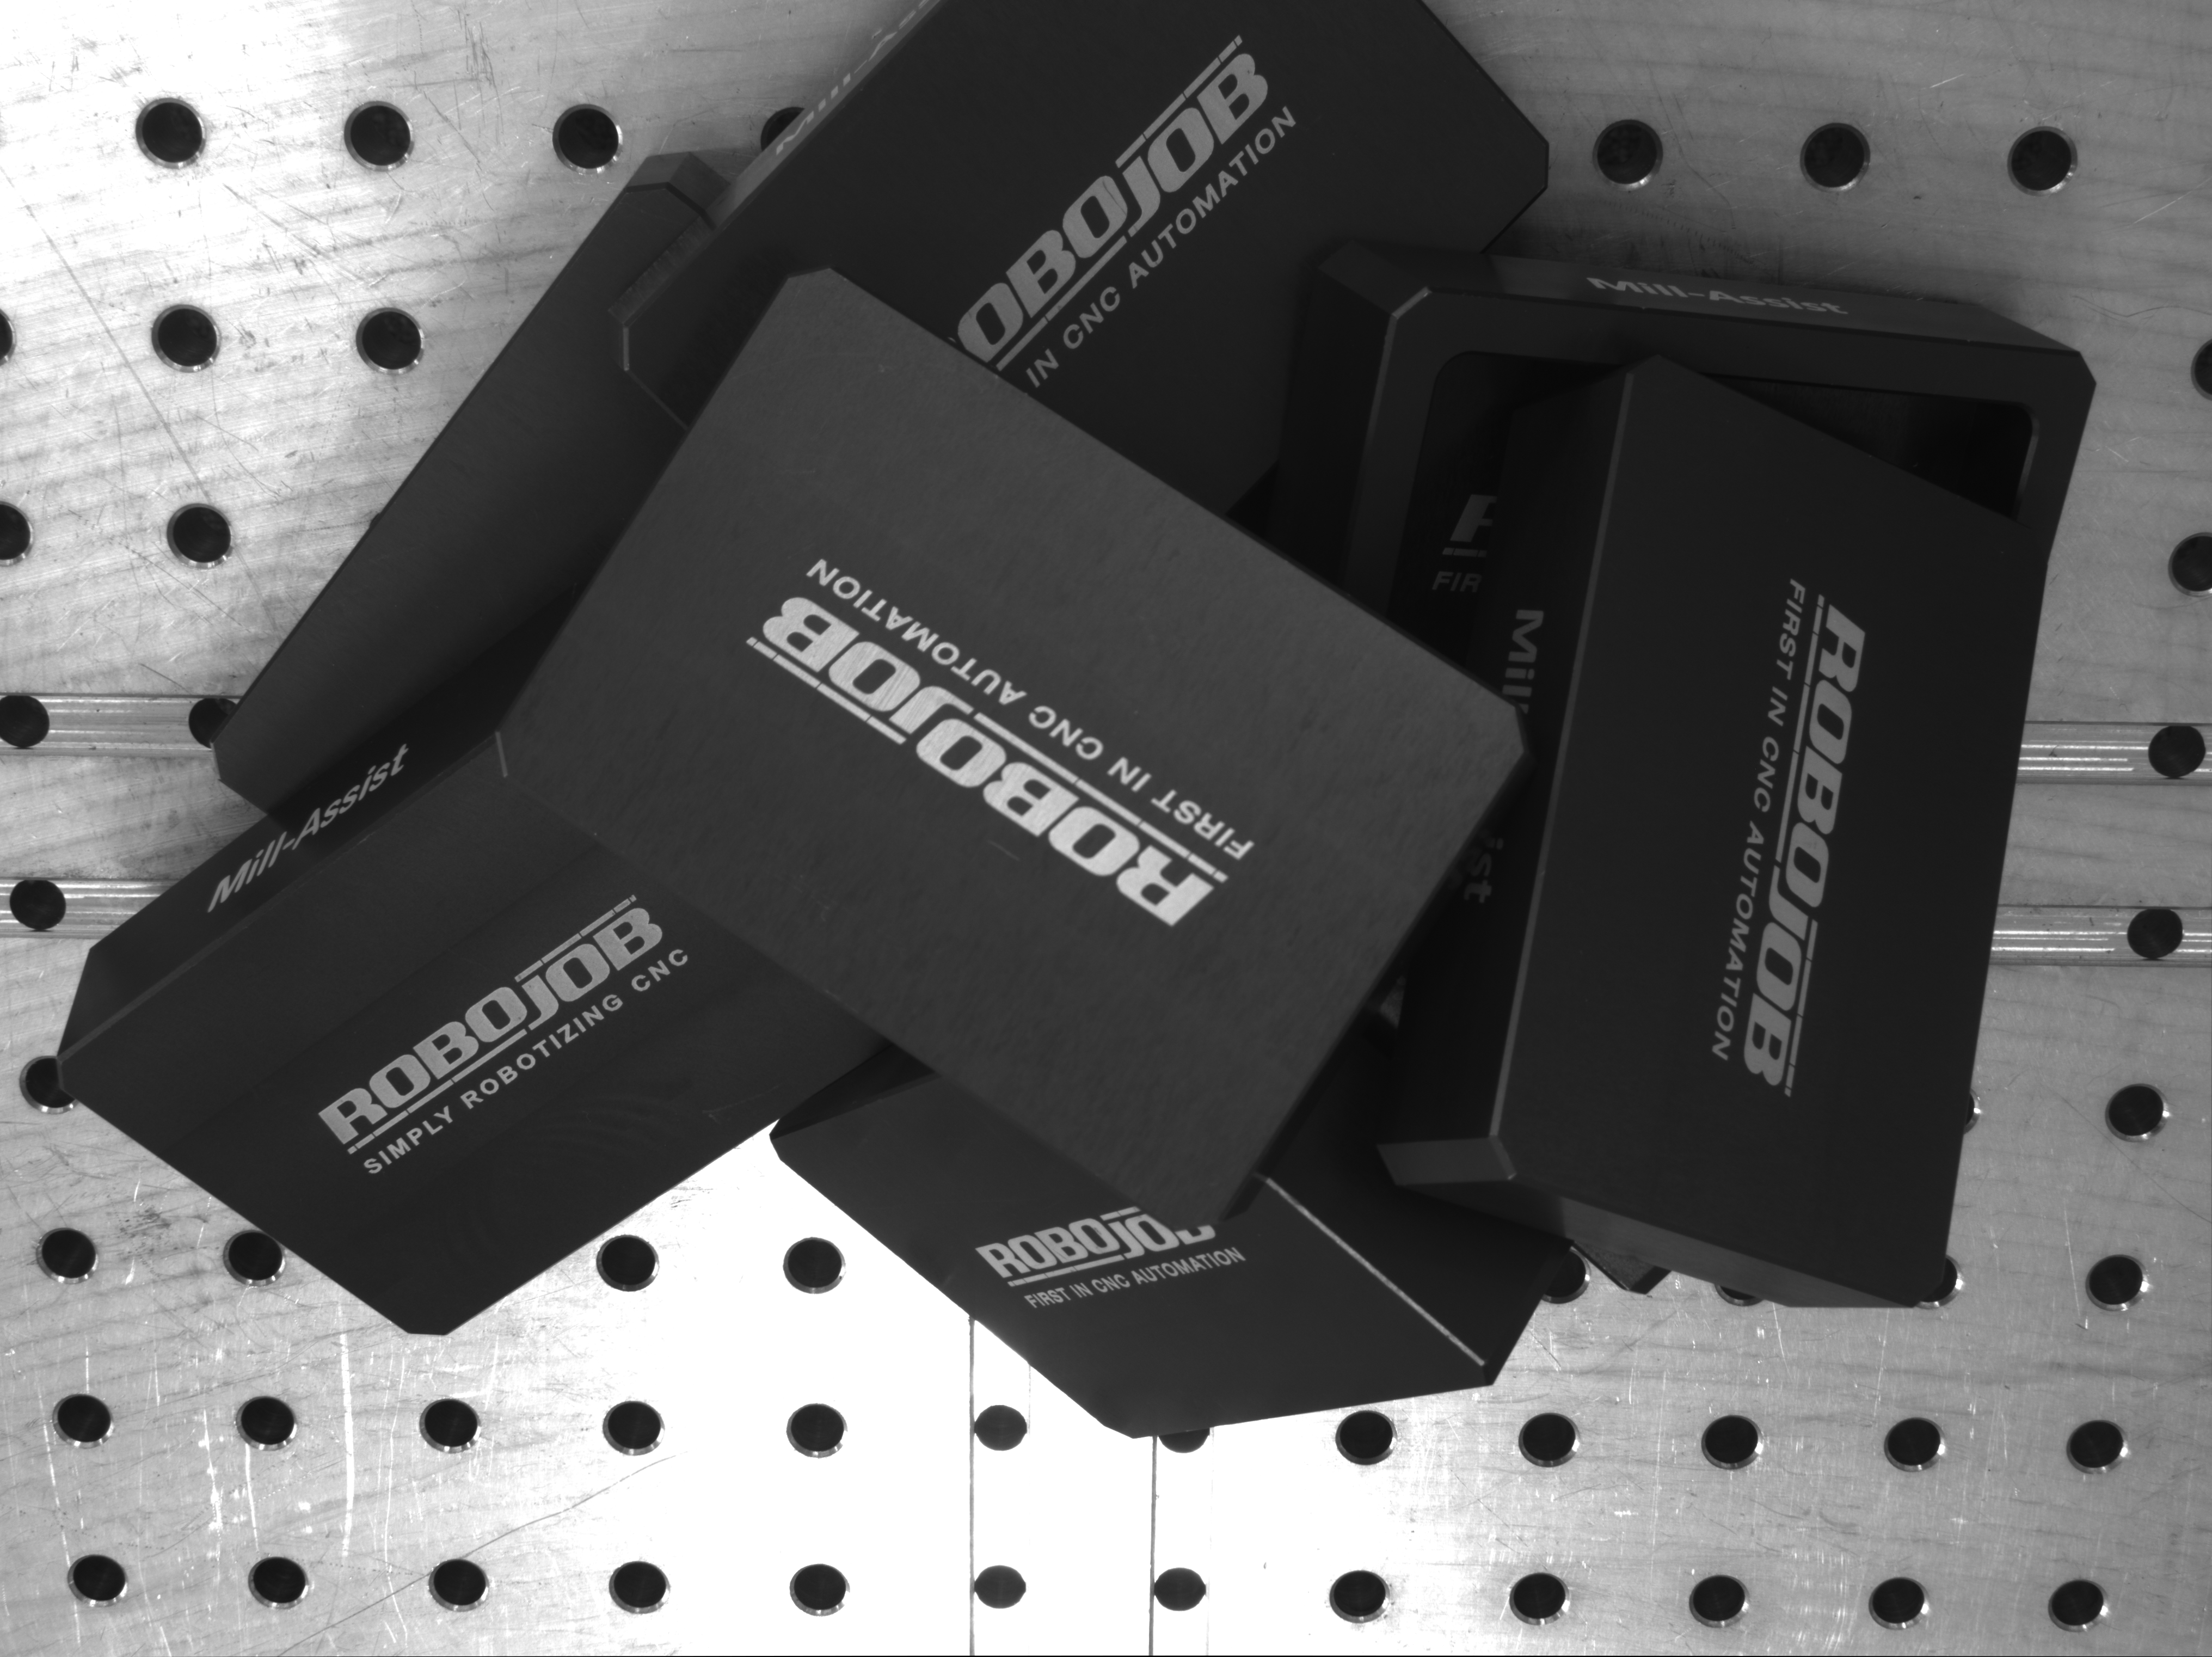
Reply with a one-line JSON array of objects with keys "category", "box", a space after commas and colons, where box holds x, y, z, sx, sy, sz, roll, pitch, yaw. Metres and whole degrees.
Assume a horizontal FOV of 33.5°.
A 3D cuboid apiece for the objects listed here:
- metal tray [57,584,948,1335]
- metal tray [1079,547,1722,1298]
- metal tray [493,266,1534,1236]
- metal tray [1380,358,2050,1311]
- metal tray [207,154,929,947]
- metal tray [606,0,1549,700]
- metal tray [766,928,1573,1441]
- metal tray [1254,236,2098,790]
[{"category": "metal tray", "box": [-0.102, 0.026, 0.629, 0.130, 0.030, 0.090, -34, 123, 23]}, {"category": "metal tray", "box": [0.052, 0.010, 0.617, 0.130, 0.090, 0.030, 43, 105, -13]}, {"category": "metal tray", "box": [-0.013, -0.012, 0.546, 0.130, 0.030, 0.090, 34, 93, 9]}, {"category": "metal tray", "box": [0.098, 0.003, 0.578, 0.090, 0.030, 0.130, 19, 74, -28]}, {"category": "metal tray", "box": [-0.080, -0.038, 0.630, 0.090, 0.030, 0.130, 37, 106, -12]}, {"category": "metal tray", "box": [-0.005, -0.093, 0.590, 0.130, 0.030, 0.090, -45, 106, 0]}, {"category": "metal tray", "box": [0.007, 0.062, 0.620, 0.090, 0.130, 0.030, 41, 63, -14]}, {"category": "metal tray", "box": [0.091, -0.044, 0.605, 0.130, 0.030, 0.090, 3, 111, -22]}]
